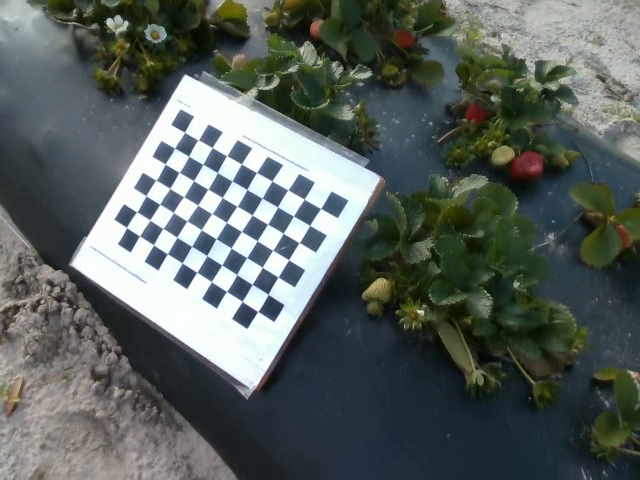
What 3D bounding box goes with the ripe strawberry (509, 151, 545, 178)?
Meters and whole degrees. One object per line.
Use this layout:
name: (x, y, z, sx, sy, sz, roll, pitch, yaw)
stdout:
ripe strawberry: (0.303, -0.103, 0.926, 0.051, 0.048, 0.055, -28, 18, 10)
